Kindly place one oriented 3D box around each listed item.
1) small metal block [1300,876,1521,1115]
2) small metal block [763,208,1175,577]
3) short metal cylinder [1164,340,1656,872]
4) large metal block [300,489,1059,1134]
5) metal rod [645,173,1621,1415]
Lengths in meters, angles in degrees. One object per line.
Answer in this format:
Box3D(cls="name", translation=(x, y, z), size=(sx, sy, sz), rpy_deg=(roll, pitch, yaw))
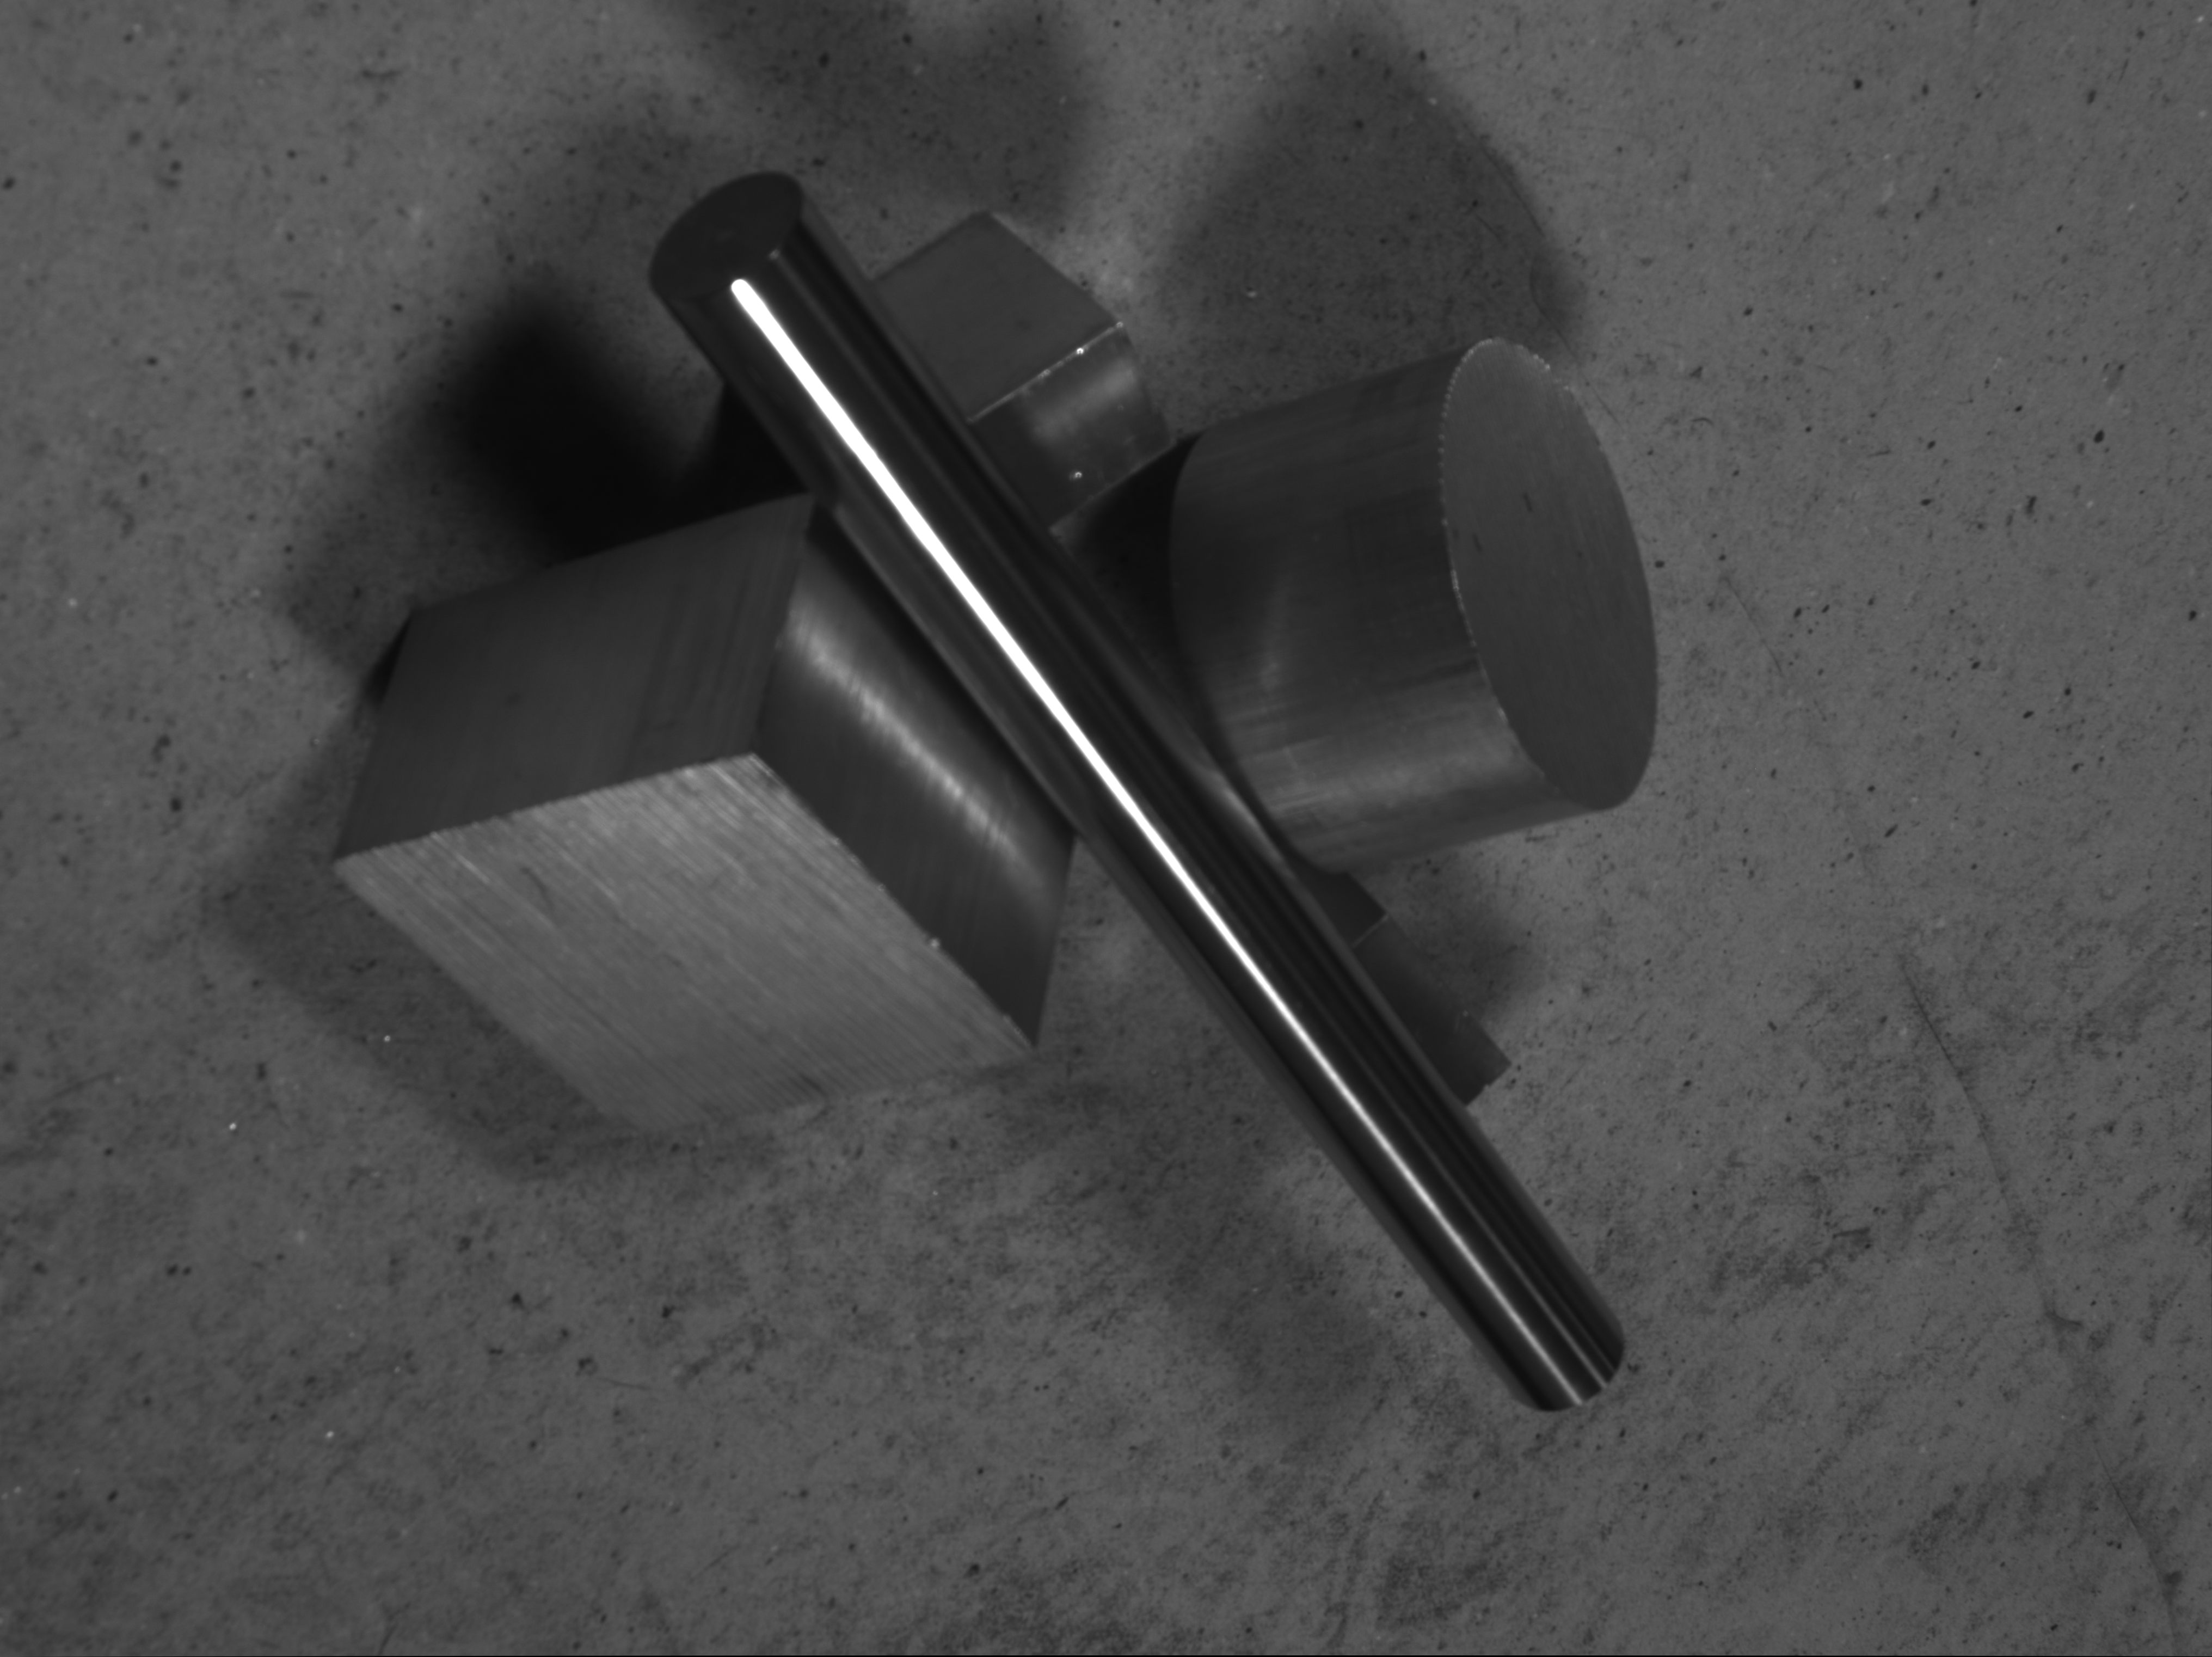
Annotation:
Box3D(cls="small metal block", translation=(0.043, 0.027, 0.673), size=(0.025, 0.050, 0.050), rpy_deg=(-42, 130, -1))
Box3D(cls="small metal block", translation=(-0.025, -0.066, 0.579), size=(0.050, 0.050, 0.025), rpy_deg=(-34, 130, -8))
Box3D(cls="short metal cylinder", translation=(0.052, -0.036, 0.615), size=(0.050, 0.080, 0.080), rpy_deg=(-14, 139, 30))
Box3D(cls="large metal block", translation=(-0.064, 0.000, 0.574), size=(0.080, 0.050, 0.080), rpy_deg=(-13, 138, 28))
Box3D(cls="metal rod", translation=(0.017, 0.010, 0.602), size=(0.025, 0.025, 0.301), rpy_deg=(-40, 130, -3))
